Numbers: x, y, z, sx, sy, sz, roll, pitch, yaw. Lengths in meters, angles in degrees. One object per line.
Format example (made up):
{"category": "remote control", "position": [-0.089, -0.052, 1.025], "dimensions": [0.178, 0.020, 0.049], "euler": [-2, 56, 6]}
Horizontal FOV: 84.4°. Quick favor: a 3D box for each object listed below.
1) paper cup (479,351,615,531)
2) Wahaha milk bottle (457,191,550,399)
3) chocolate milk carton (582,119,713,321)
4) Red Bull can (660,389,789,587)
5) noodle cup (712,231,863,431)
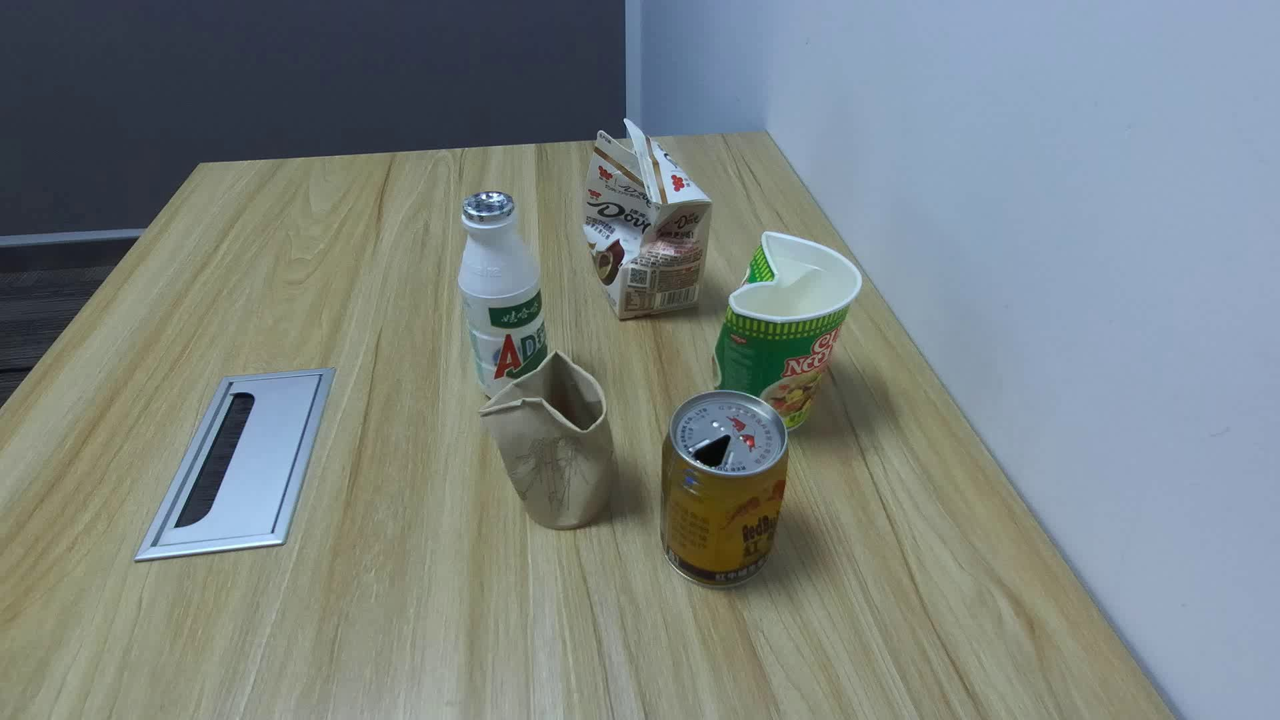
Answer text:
{"category": "paper cup", "position": [-0.050, 0.053, 0.413], "dimensions": [0.058, 0.083, 0.066], "euler": [-28, 45, -24]}
{"category": "Wahaha milk bottle", "position": [-0.091, -0.038, 0.472], "dimensions": [0.053, 0.147, 0.053], "euler": [0, 39, 0]}
{"category": "chocolate milk carton", "position": [0.004, -0.106, 0.553], "dimensions": [0.077, 0.155, 0.089], "euler": [-17, 56, -13]}
{"category": "Red Bull can", "position": [0.045, 0.069, 0.383], "dimensions": [0.068, 0.093, 0.068], "euler": [0, 40, 0]}
{"category": "noodle cup", "position": [0.088, -0.010, 0.462], "dimensions": [0.086, 0.109, 0.094], "euler": [30, 49, 32]}
